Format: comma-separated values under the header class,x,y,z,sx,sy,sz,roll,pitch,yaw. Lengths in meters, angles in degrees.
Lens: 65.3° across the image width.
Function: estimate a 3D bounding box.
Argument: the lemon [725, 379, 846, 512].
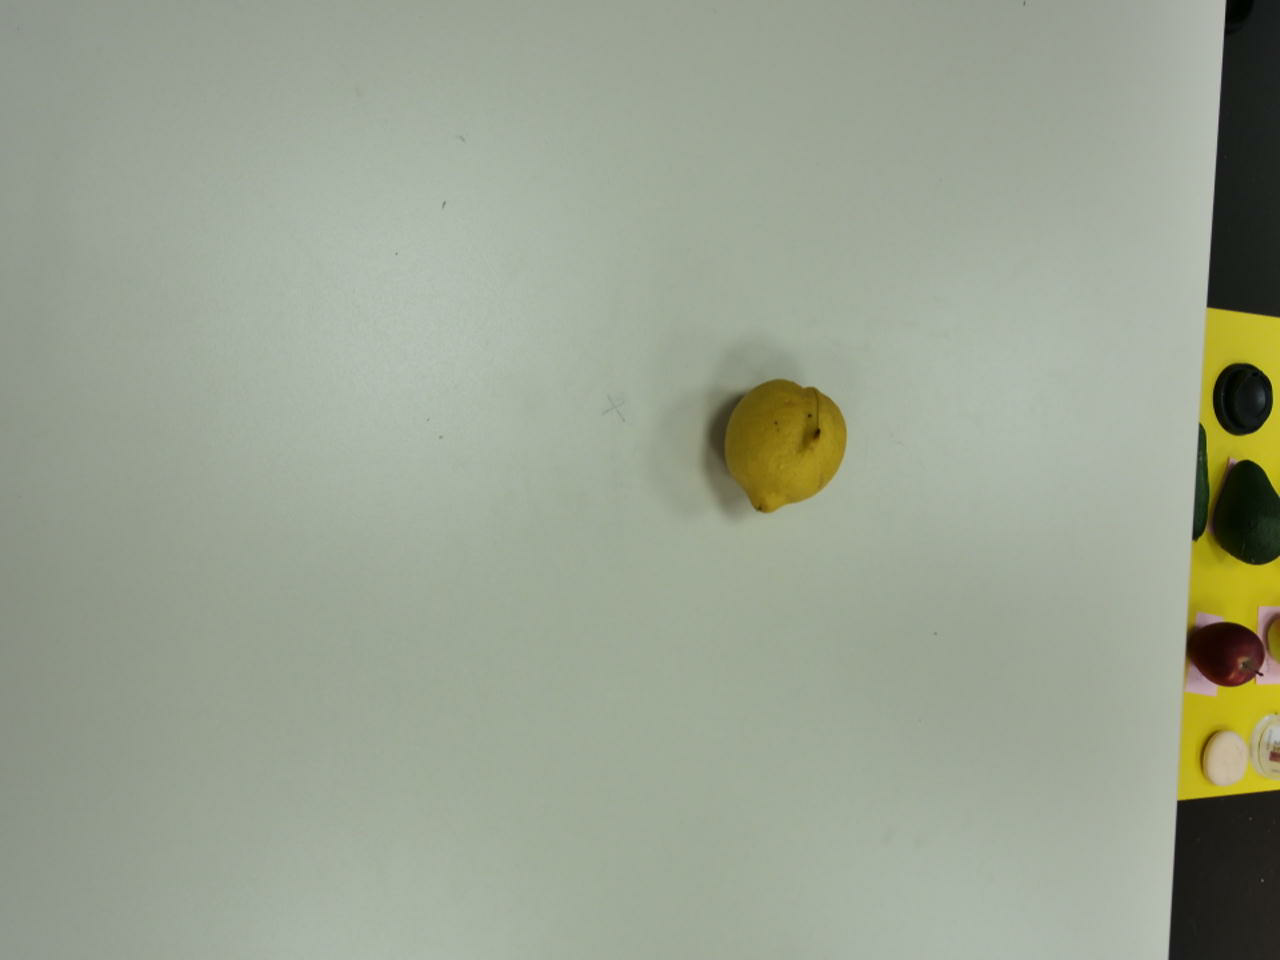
class,x,y,z,sx,sy,sz,roll,pitch,yaw
lemon,0.084,-0.022,0.569,0.071,0.071,0.070,-31,102,-19
